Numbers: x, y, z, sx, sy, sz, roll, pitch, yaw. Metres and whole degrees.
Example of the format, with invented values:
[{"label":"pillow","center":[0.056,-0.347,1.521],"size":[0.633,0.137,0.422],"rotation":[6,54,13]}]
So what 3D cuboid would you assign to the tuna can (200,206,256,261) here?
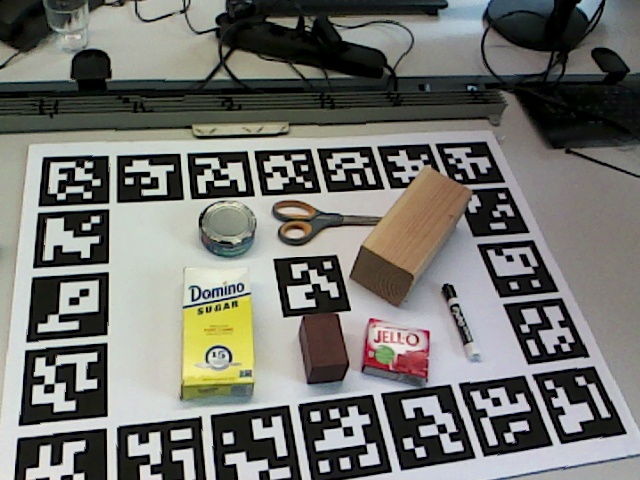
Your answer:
[{"label":"tuna can","center":[-0.144,-0.010,0.964],"size":[0.085,0.033,0.086],"rotation":[4,55,-6]}]

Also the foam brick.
[{"label":"foam brick","center":[0.007,0.158,0.855],"size":[0.052,0.051,0.078],"rotation":[-2,56,-10]}]

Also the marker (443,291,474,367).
[{"label":"marker","center":[0.207,0.131,0.929],"size":[0.019,0.019,0.121],"rotation":[-2,57,-11]}]

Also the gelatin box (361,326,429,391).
[{"label":"gelatin box","center":[0.108,0.168,0.882],"size":[0.089,0.030,0.073],"rotation":[12,54,0]}]

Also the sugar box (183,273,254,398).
[{"label":"sugar box","center":[-0.141,0.129,0.863],"size":[0.092,0.045,0.177],"rotation":[1,55,-10]}]

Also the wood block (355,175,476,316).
[{"label":"wood block","center":[0.152,0.005,0.973],"size":[0.090,0.091,0.206],"rotation":[32,55,15]}]

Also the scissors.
[{"label":"scissors","center":[0.022,-0.020,1.012],"size":[0.202,0.016,0.088],"rotation":[2,55,-5]}]
